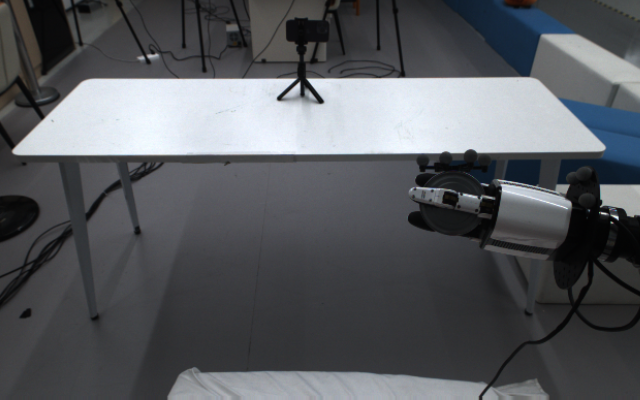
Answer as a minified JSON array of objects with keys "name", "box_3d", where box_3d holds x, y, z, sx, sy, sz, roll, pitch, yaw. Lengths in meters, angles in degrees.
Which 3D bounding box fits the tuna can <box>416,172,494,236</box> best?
[{"name":"tuna can","box_3d":[0.179,0.003,0.647,0.085,0.085,0.034,13,-1,15]}]
